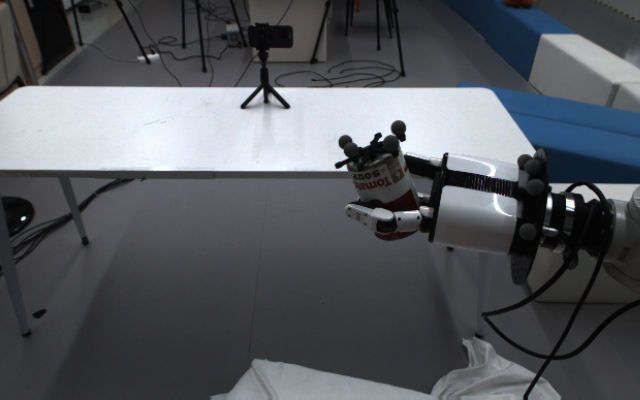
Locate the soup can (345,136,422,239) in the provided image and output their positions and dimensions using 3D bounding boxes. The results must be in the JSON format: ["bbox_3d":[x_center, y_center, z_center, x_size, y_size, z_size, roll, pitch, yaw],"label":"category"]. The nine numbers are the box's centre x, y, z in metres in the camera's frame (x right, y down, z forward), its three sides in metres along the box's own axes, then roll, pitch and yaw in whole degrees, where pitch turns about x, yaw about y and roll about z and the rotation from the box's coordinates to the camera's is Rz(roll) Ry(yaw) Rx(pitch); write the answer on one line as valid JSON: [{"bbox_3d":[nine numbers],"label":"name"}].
[{"bbox_3d":[0.083,-0.012,0.584,0.067,0.101,0.067,-21,24,10],"label":"soup can"}]
